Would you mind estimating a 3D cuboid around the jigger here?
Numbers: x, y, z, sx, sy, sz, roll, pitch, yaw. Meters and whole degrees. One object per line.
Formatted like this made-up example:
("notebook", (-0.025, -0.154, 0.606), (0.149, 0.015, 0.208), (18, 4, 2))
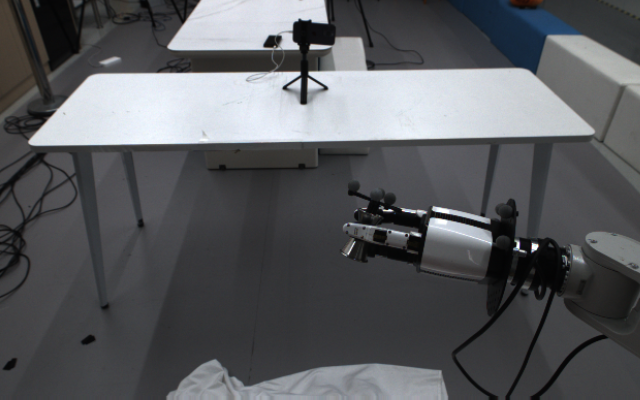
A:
("jigger", (0.058, 0.047, 0.681), (0.043, 0.071, 0.043), (22, 6, -2))
